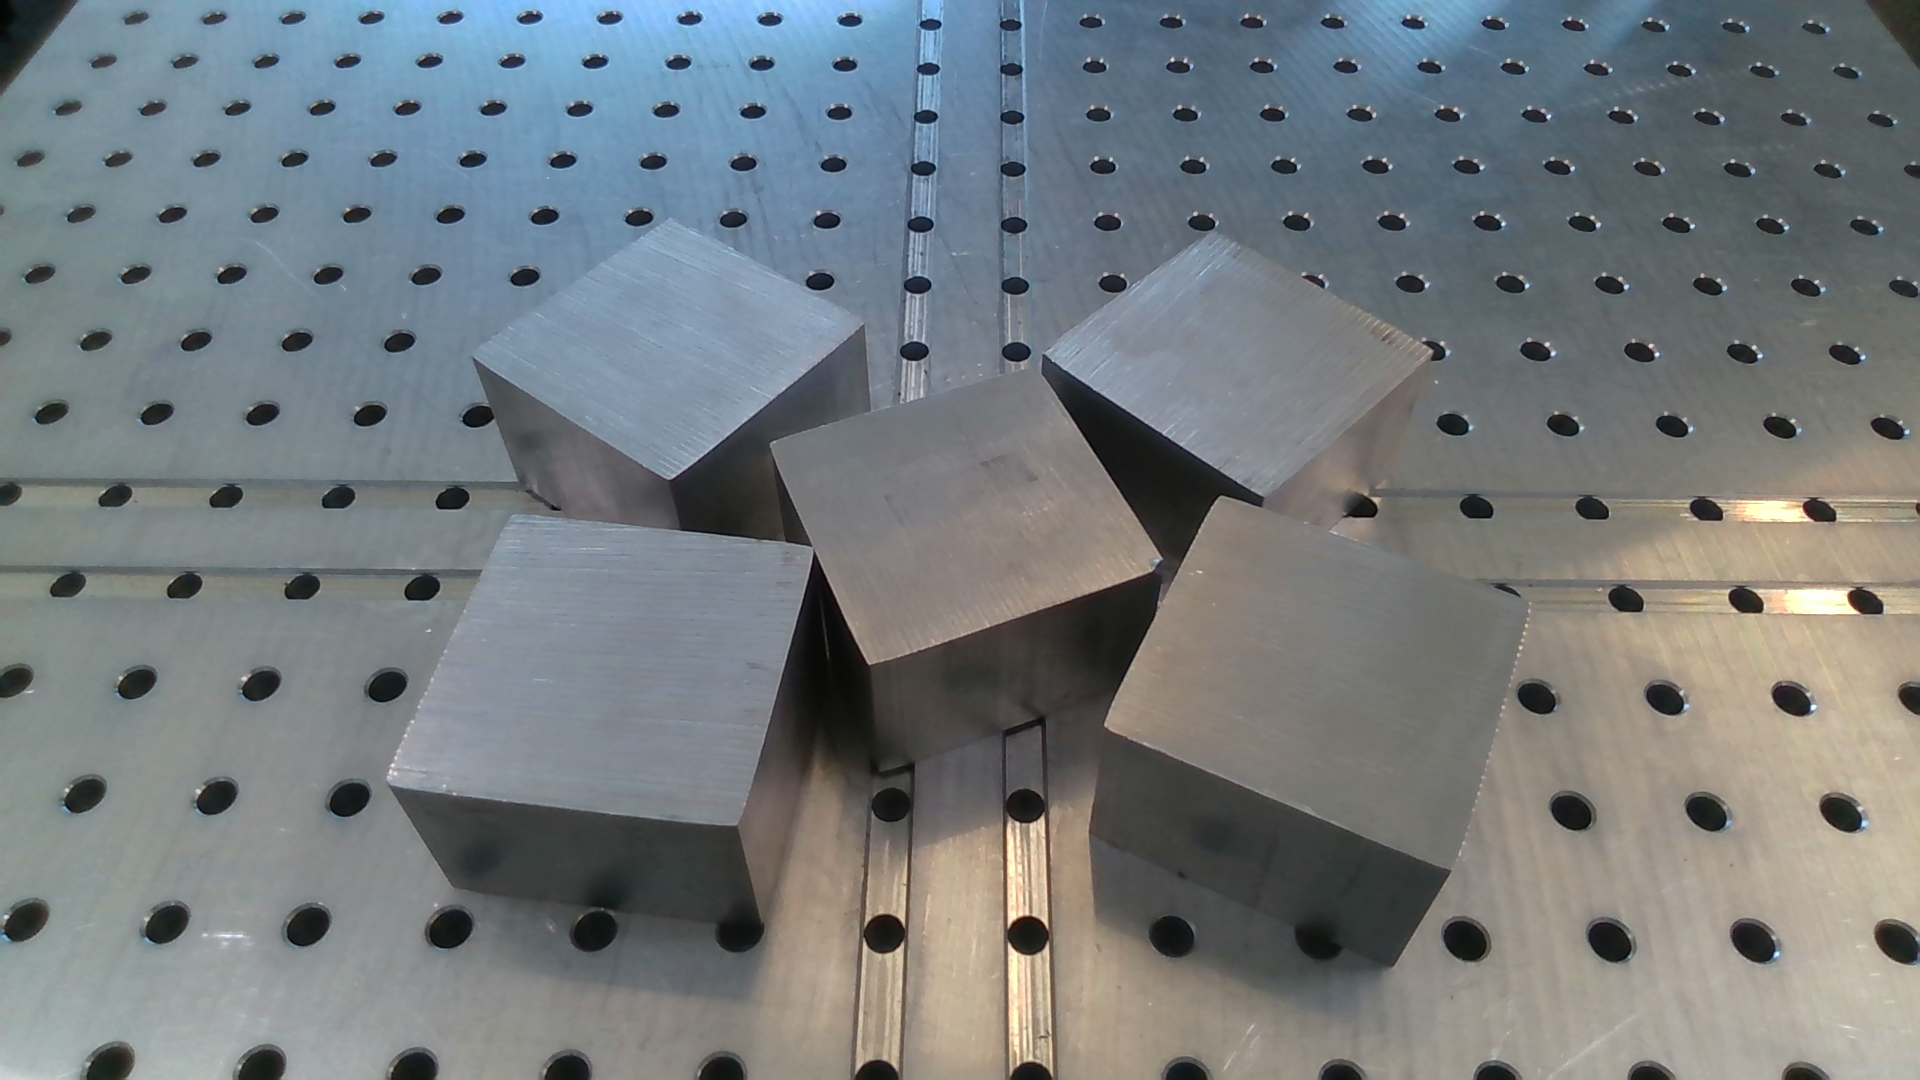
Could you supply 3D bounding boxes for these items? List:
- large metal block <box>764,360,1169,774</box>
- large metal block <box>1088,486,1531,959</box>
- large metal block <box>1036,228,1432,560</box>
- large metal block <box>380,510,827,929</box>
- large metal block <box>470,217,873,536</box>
[{"bbox_3d":[0.000,0.005,0.375,0.080,0.050,0.080,-18,52,-14],"label":"large metal block"},{"bbox_3d":[0.086,0.043,0.343,0.080,0.050,0.080,20,56,16],"label":"large metal block"},{"bbox_3d":[0.078,-0.039,0.412,0.080,0.050,0.080,-37,59,-27],"label":"large metal block"},{"bbox_3d":[-0.082,0.043,0.344,0.080,0.050,0.080,7,51,6],"label":"large metal block"},{"bbox_3d":[-0.083,-0.042,0.414,0.080,0.050,0.080,31,56,23],"label":"large metal block"}]
